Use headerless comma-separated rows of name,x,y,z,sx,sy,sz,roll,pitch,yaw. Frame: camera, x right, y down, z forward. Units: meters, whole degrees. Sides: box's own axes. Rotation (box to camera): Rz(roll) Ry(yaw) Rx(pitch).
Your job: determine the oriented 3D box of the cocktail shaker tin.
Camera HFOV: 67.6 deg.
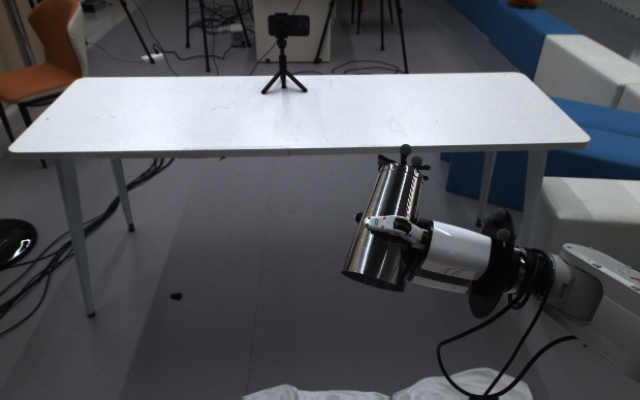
cocktail shaker tin,0.098,0.037,0.700,0.093,0.093,0.170,14,74,16
